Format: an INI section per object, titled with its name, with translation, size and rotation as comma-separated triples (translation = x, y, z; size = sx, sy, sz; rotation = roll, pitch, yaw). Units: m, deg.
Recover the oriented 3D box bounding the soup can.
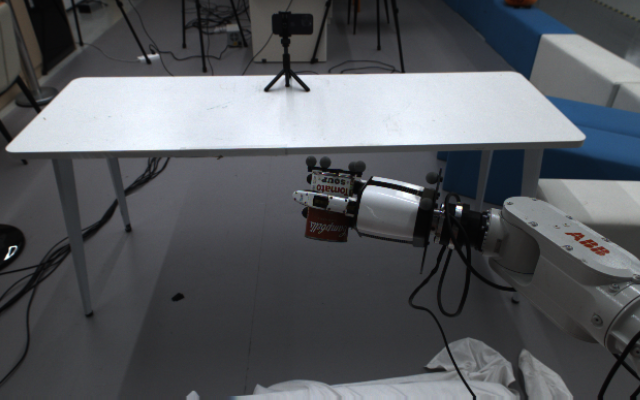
[soup can]
translation = 0.016, 0.010, 0.743
size = 0.067, 0.101, 0.067
rotation = 7, 3, 0
